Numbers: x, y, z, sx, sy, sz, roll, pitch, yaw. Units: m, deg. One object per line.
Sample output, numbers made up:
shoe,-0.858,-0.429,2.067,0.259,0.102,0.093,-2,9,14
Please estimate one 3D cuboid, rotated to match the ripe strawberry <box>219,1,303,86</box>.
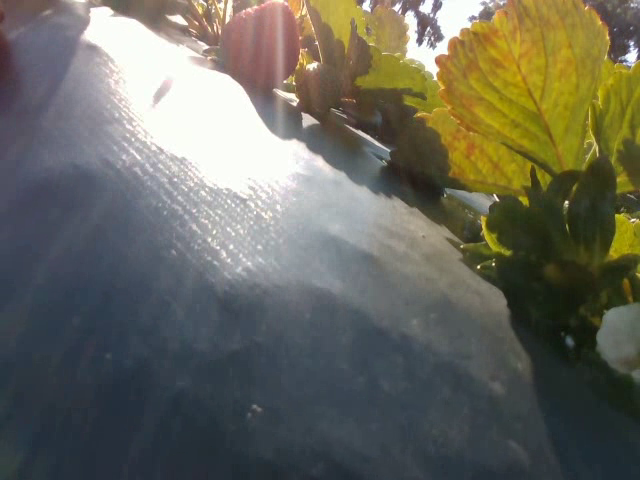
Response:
ripe strawberry,-0.019,-0.071,0.220,0.037,0.042,0.045,-46,-1,-36
